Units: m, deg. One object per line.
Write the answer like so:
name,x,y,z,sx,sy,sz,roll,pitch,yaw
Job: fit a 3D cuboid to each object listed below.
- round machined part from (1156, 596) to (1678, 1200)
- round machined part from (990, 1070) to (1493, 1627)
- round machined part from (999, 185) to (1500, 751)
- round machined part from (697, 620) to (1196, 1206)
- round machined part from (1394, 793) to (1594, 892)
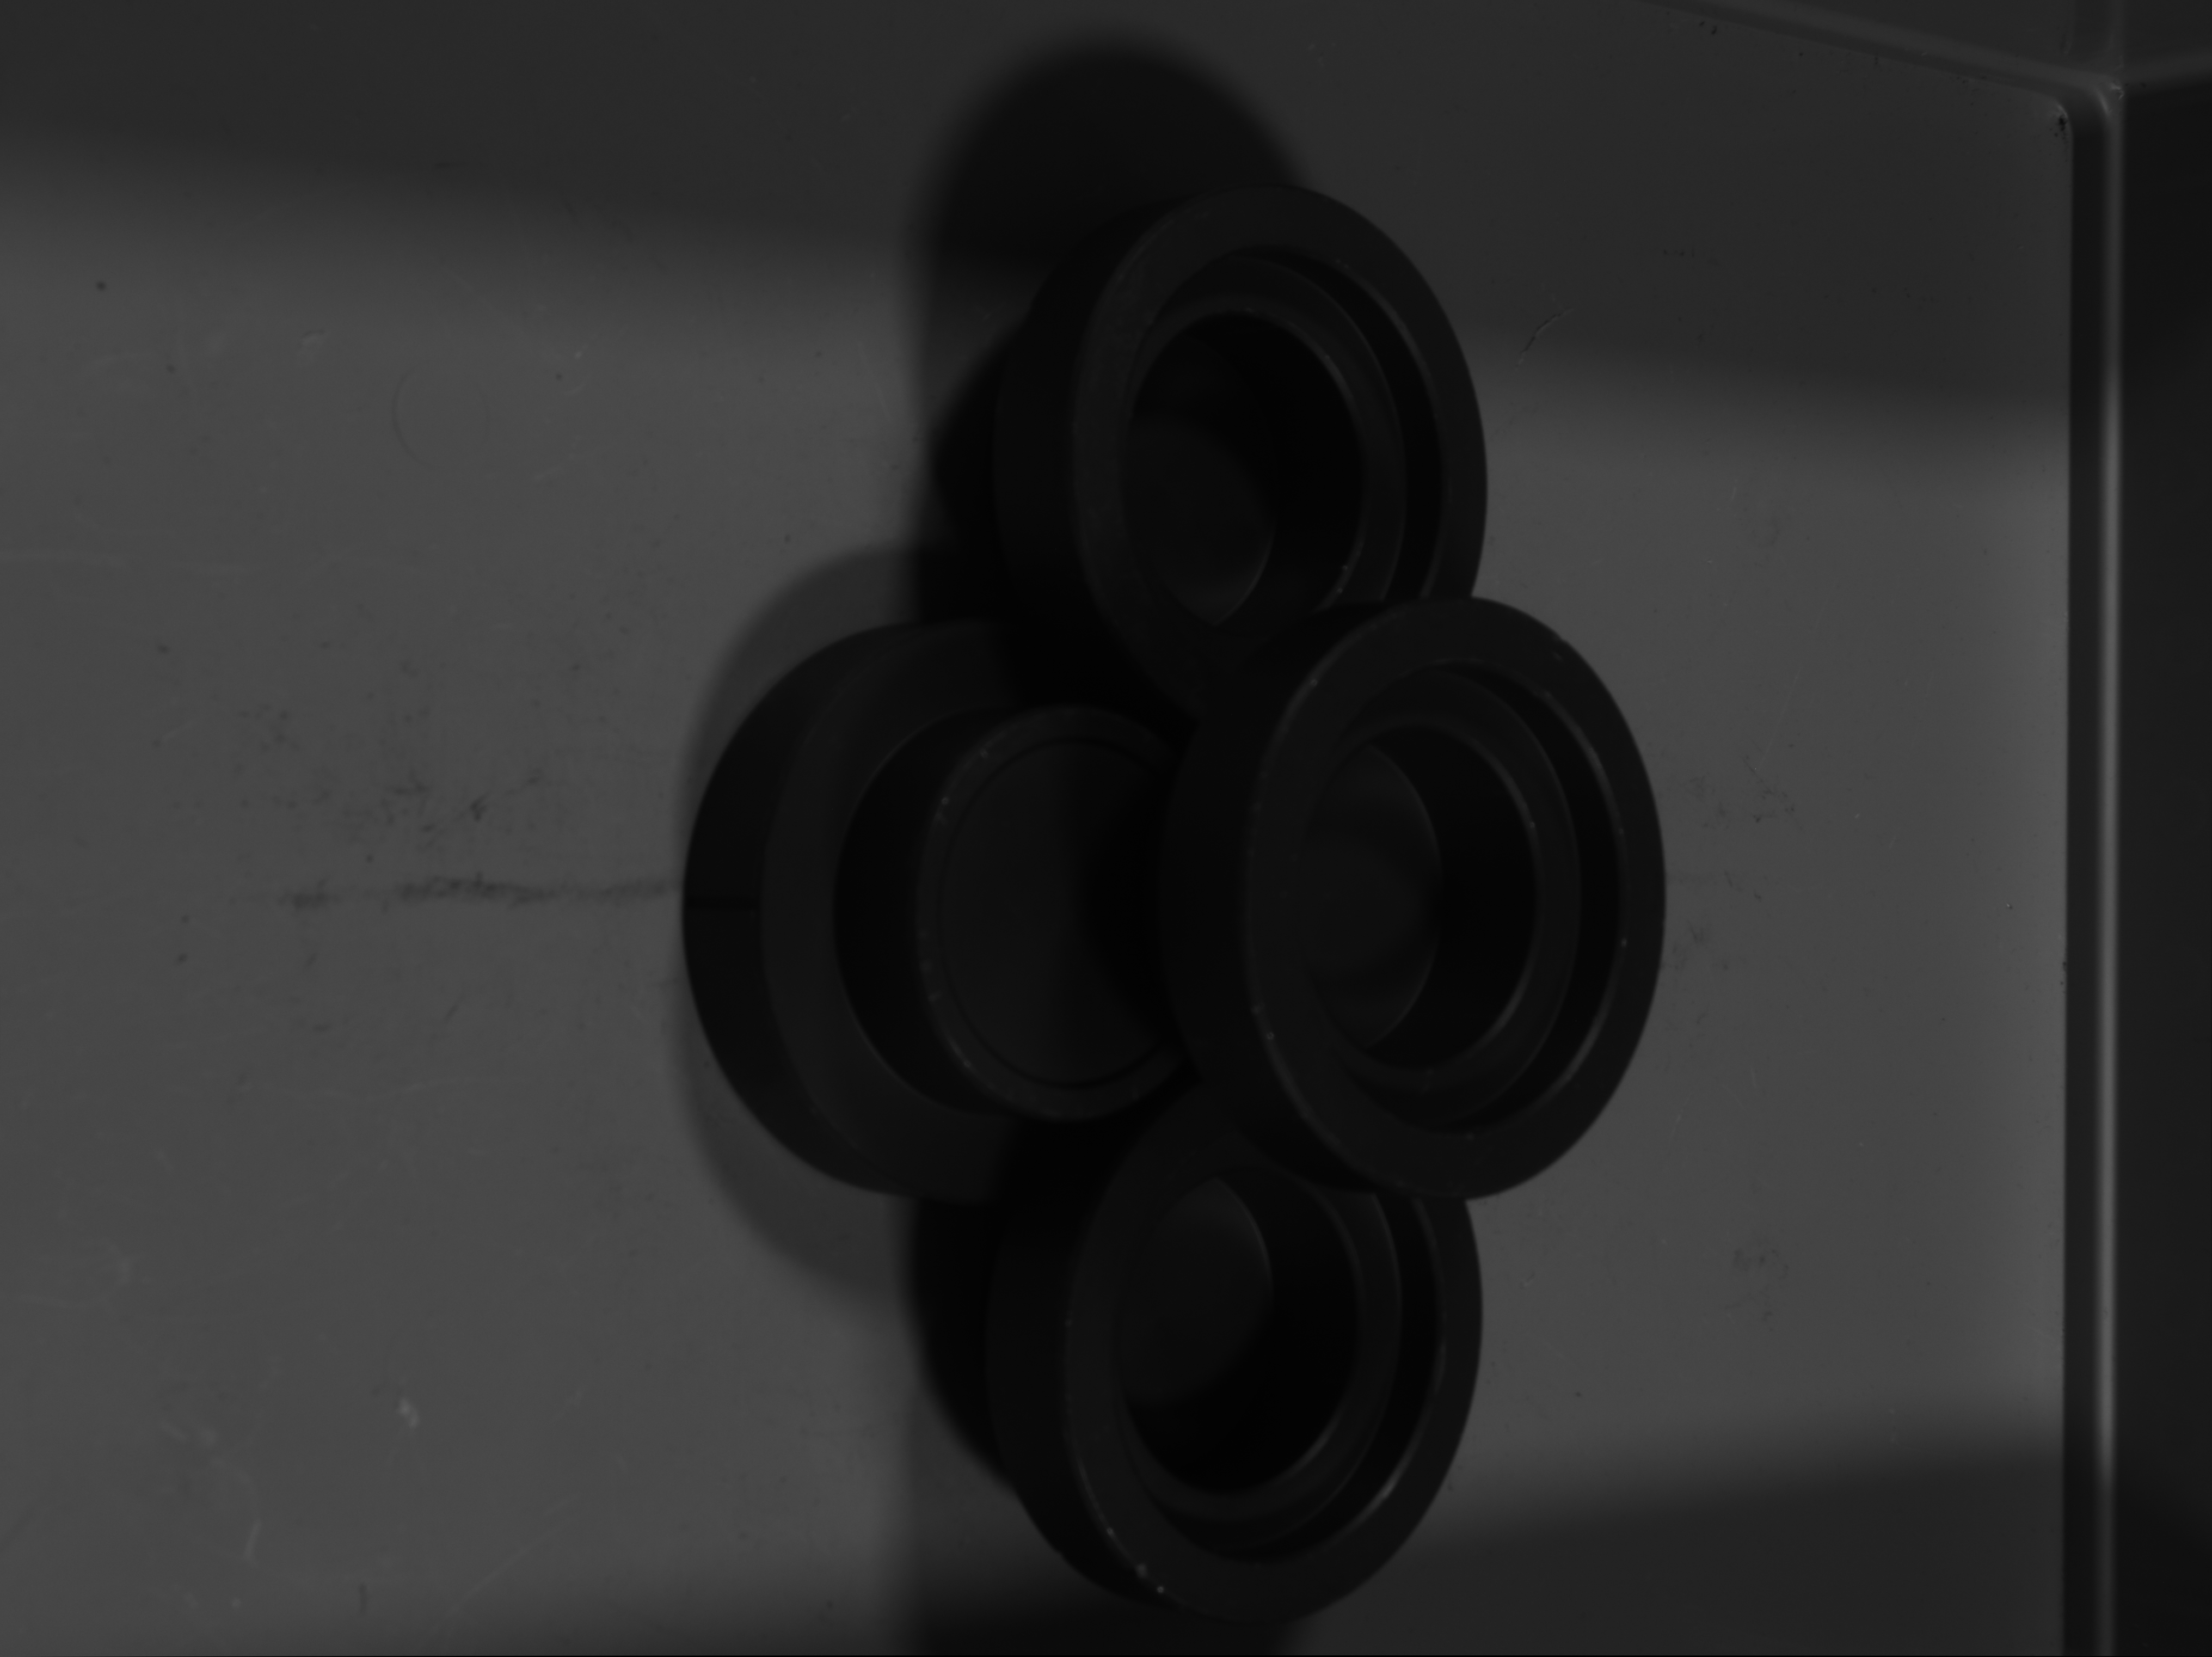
round machined part,0.047,0.011,0.609,0.098,0.042,0.098,0,90,-40
round machined part,0.019,0.087,0.640,0.098,0.042,0.098,0,90,-40
round machined part,0.020,-0.061,0.641,0.098,0.042,0.098,0,90,-40
round machined part,-0.016,0.014,0.611,0.098,0.042,0.098,0,90,-40
round machined part,0.061,0.018,0.674,0.098,0.042,0.098,0,90,-40
